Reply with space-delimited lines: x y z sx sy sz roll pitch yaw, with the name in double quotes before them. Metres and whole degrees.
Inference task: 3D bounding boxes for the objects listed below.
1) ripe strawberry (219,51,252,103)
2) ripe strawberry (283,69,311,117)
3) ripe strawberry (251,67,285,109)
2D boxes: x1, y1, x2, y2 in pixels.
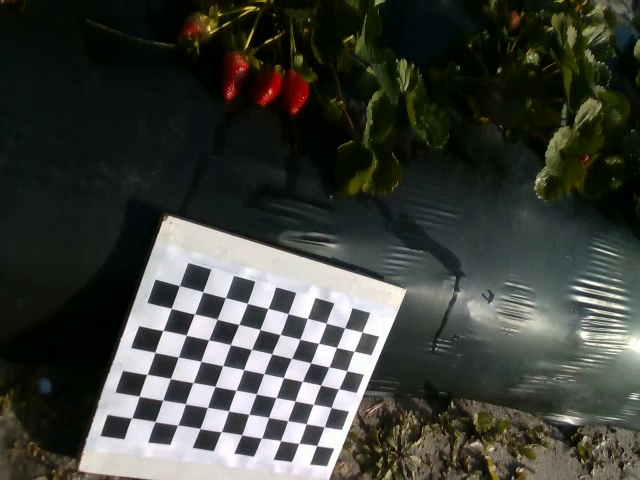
"ripe strawberry" -0.076 -0.143 0.551 0.031 0.046 0.023 17 -8 -24
"ripe strawberry" -0.025 -0.128 0.572 0.035 0.041 0.034 12 -42 -24
"ripe strawberry" -0.049 -0.135 0.557 0.030 0.037 0.039 28 28 -25
